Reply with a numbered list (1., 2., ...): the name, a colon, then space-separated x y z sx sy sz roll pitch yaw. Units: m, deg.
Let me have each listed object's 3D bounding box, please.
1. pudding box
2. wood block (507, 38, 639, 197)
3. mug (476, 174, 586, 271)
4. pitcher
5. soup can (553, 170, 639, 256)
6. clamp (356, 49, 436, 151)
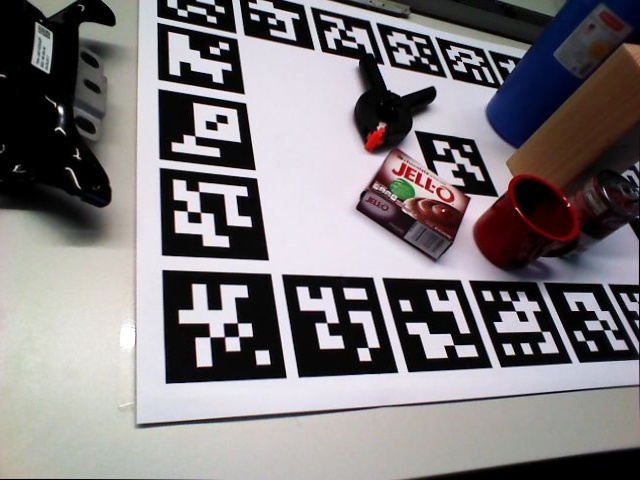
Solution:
1. pudding box: 0.100 -0.045 0.588 0.114 0.039 0.089 33 54 1
2. wood block: 0.353 -0.131 0.647 0.089 0.208 0.090 2 57 -27
3. mug: 0.247 -0.010 0.599 0.117 0.082 0.092 32 48 0
4. pitcher: 0.360 -0.240 0.705 0.188 0.244 0.133 1 56 -21
5. soup can: 0.333 -0.028 0.636 0.068 0.103 0.067 11 57 -18
6. clamp: 0.090 -0.176 0.681 0.122 0.037 0.164 32 51 -11
